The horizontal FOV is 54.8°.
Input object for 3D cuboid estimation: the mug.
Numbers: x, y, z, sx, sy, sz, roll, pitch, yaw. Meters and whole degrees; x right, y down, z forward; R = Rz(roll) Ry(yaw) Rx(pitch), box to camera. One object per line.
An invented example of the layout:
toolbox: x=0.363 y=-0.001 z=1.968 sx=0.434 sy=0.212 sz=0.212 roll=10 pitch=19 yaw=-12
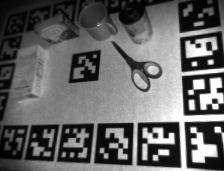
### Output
mug: x=-0.043 y=-0.202 z=0.653 sx=0.093 sy=0.082 sz=0.116 roll=-40 pitch=62 yaw=9

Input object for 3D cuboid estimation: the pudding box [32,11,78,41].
pudding box: x=-0.183 y=-0.192 z=0.698 sx=0.113 sy=0.091 sz=0.038 roll=-14 pitch=75 yaw=17

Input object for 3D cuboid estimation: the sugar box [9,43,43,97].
sugar box: x=-0.288 y=-0.053 z=0.730 sx=0.092 sy=0.046 sz=0.176 roll=-8 pitch=72 yaw=22

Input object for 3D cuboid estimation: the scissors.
scissors: x=0.050 y=-0.071 z=0.610 sx=0.087 sy=0.016 sz=0.200 roll=-48 pitch=64 yaw=13

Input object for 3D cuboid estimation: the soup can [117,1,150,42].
soup can: x=0.062 y=-0.174 z=0.600 sx=0.067 sy=0.103 sz=0.067 roll=-7 pitch=69 yaw=21
